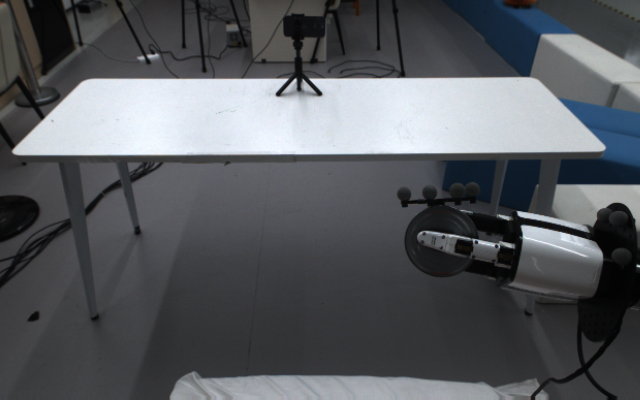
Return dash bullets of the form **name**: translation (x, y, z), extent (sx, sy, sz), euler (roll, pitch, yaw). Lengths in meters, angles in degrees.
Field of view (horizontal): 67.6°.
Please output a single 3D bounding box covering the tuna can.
- **tuna can**: translation (0.148, 0.047, 0.585), extent (0.085, 0.085, 0.034), euler (11, 2, 12)
